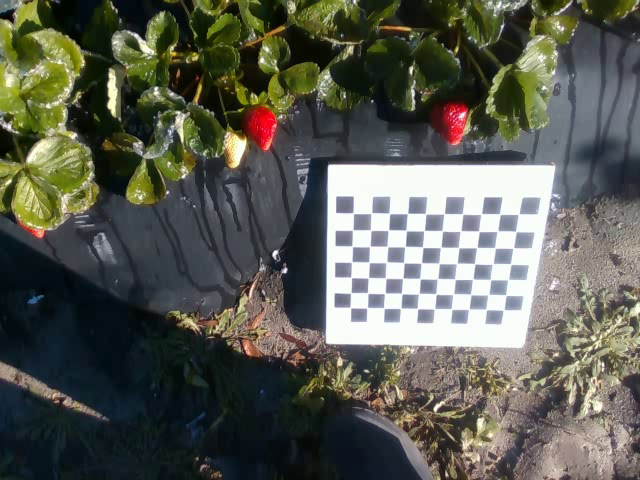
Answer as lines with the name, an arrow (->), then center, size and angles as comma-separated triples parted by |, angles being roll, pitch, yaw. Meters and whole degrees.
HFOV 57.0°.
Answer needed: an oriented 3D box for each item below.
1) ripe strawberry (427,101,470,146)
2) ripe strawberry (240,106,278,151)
ripe strawberry -> 0.159, -0.140, 0.705 | 0.049, 0.061, 0.044 | -6, -9, 3
ripe strawberry -> -0.069, -0.133, 0.719 | 0.043, 0.061, 0.046 | -12, -19, 6
